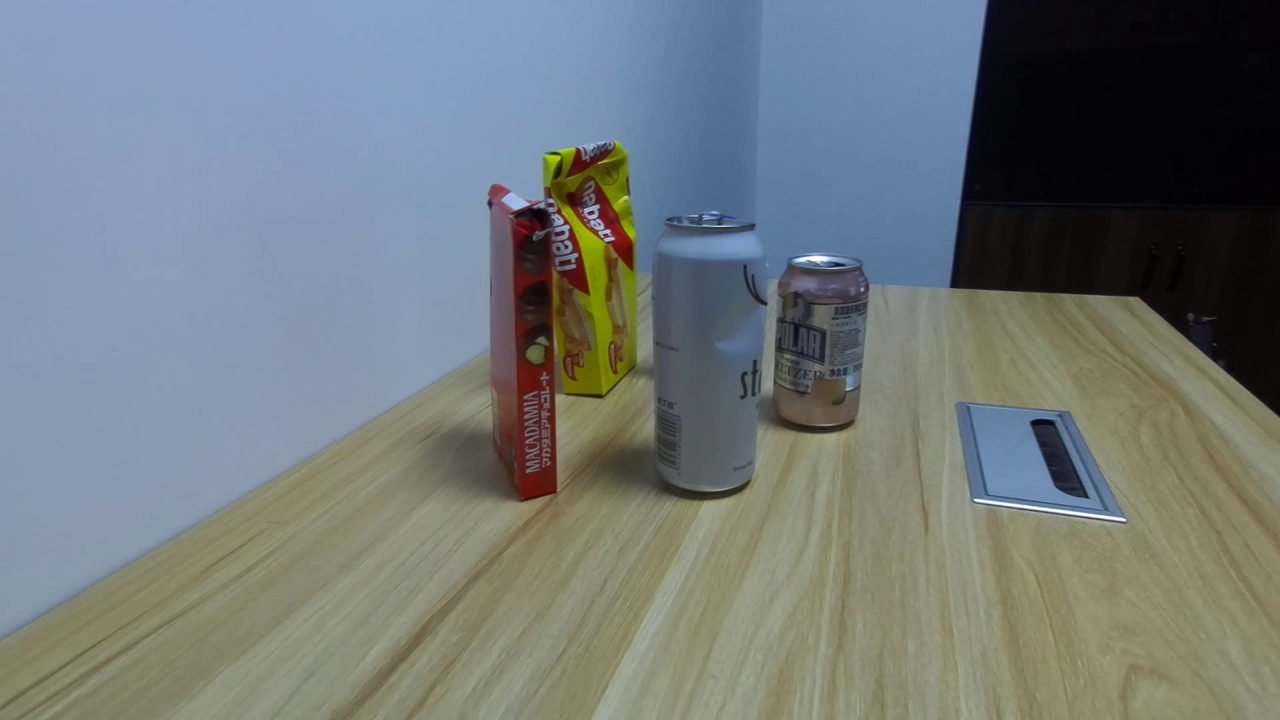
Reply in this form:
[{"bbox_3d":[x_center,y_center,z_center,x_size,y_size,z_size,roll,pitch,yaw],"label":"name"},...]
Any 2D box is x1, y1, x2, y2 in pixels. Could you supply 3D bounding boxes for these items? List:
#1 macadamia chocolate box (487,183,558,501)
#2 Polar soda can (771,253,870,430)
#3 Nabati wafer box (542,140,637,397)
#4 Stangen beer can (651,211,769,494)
[{"bbox_3d":[-0.079,-0.015,0.464,0.027,0.187,0.102,-5,19,-21],"label":"macadamia chocolate box"},{"bbox_3d":[0.135,-0.014,0.536,0.067,0.125,0.067,1,17,0],"label":"Polar soda can"},{"bbox_3d":[-0.039,-0.078,0.611,0.042,0.205,0.113,4,20,20],"label":"Nabati wafer box"},{"bbox_3d":[0.045,-0.004,0.444,0.069,0.173,0.070,4,19,14],"label":"Stangen beer can"}]
